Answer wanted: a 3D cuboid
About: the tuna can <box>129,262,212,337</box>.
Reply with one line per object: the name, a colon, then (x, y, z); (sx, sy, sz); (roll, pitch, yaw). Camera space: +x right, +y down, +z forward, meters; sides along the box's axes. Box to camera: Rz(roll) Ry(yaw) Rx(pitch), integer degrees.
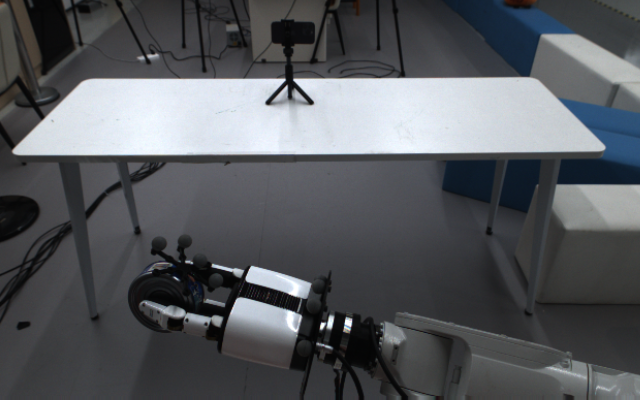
tuna can: (-0.187, 0.119, 0.593); (0.085, 0.085, 0.034); (6, 19, 6)
